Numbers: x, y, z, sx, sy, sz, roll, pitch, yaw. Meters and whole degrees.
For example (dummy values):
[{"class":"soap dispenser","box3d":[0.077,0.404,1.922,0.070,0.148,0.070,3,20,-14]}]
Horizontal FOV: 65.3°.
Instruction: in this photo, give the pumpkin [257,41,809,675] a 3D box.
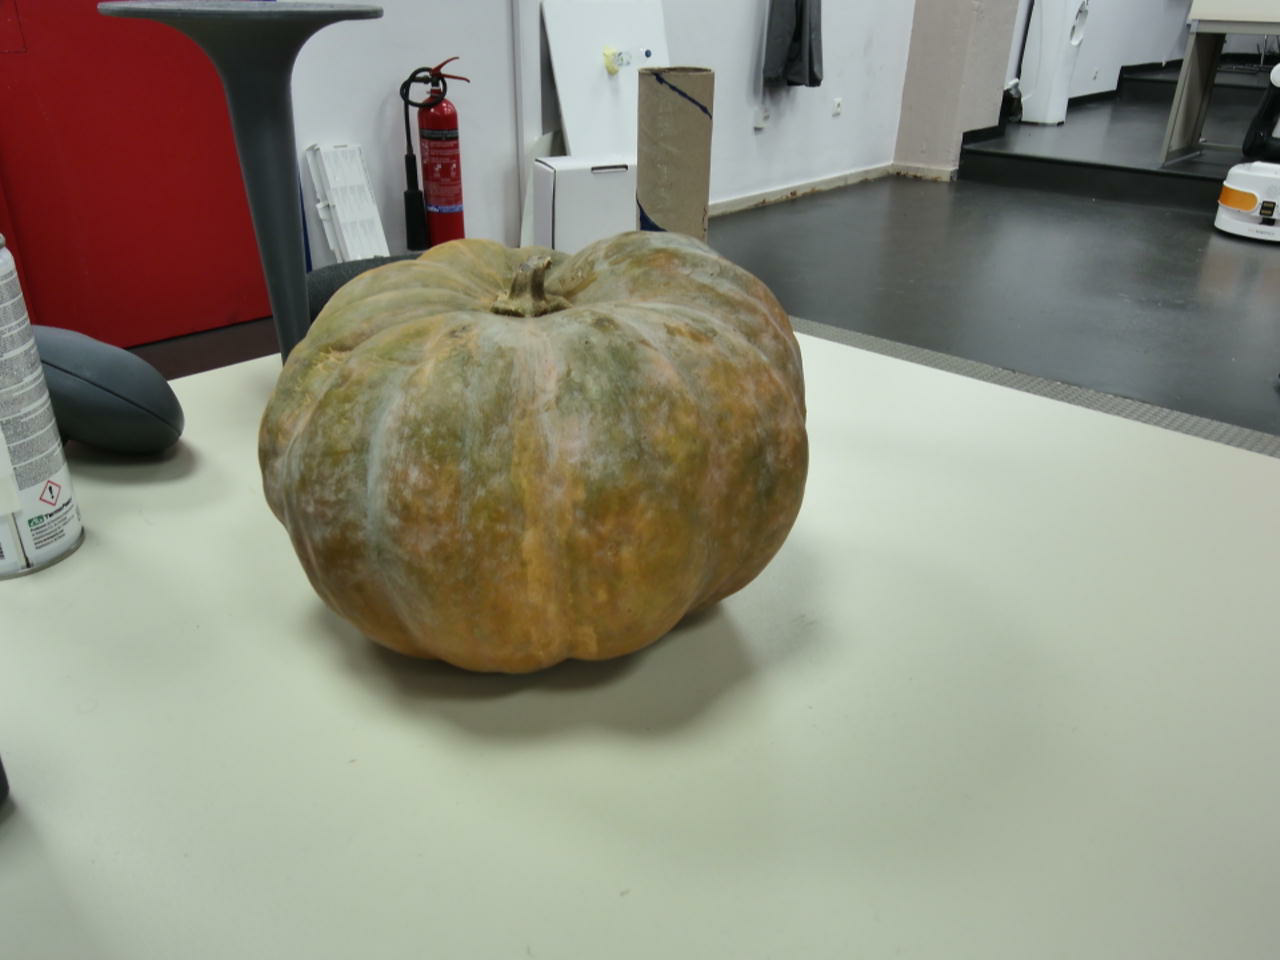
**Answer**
[{"class":"pumpkin","box3d":[-0.046,-0.021,0.459,0.252,0.169,0.251,0,25,0]}]
